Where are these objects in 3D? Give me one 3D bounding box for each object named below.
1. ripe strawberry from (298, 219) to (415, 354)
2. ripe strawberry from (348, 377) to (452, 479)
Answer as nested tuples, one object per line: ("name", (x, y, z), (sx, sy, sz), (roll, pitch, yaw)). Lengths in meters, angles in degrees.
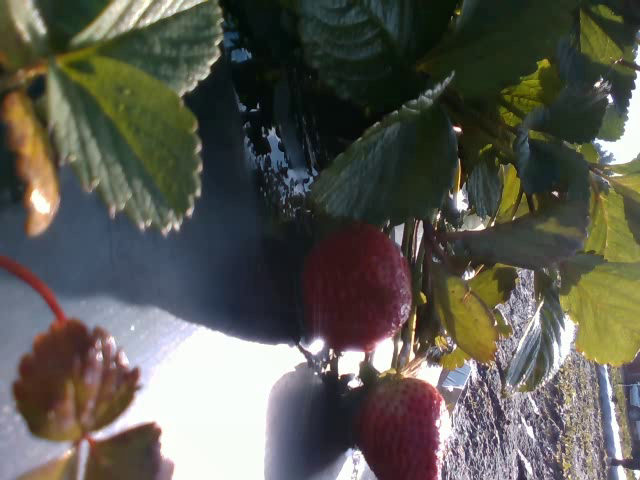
("ripe strawberry", (0.015, 0.017, 0.198), (0.039, 0.048, 0.054), (25, 0, -7))
("ripe strawberry", (0.037, 0.076, 0.228), (0.038, 0.053, 0.043), (-9, -31, -4))
